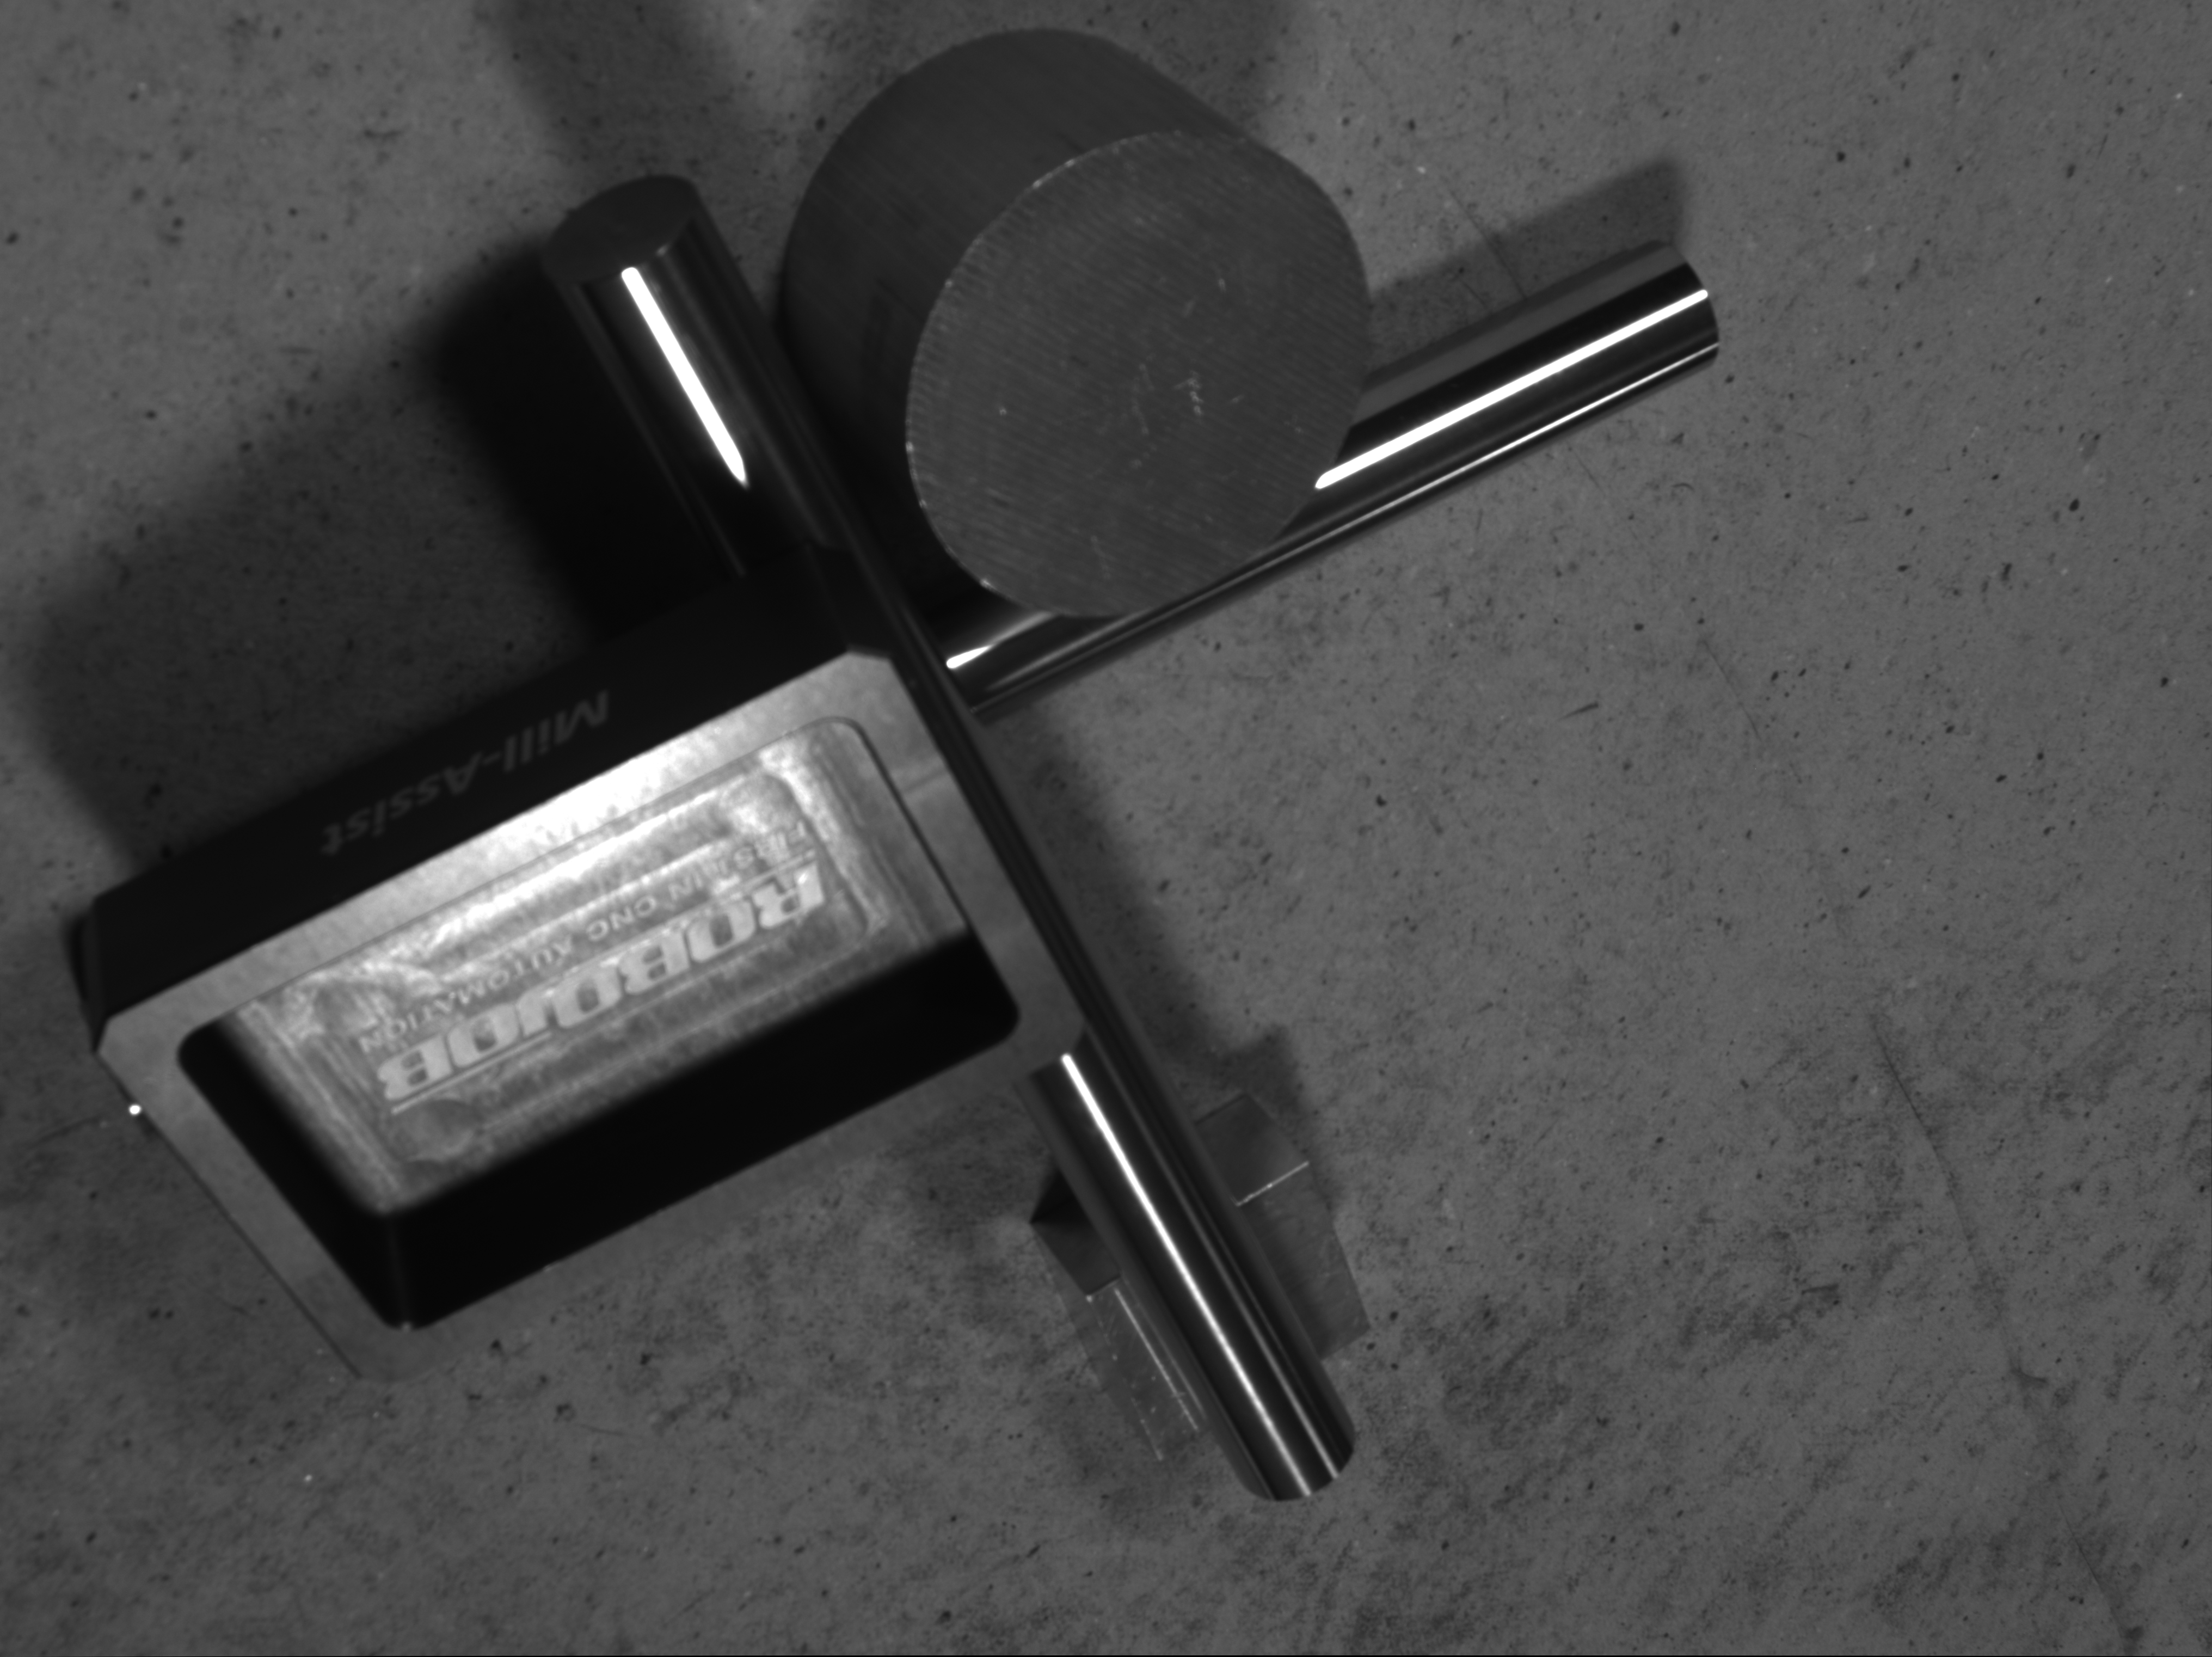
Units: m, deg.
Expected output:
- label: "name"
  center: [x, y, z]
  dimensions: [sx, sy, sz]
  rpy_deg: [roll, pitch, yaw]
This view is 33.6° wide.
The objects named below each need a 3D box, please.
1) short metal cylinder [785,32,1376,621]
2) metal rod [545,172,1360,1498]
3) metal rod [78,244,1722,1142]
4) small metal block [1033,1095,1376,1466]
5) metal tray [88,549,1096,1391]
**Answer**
- label: "short metal cylinder"
  center: [-0.004, -0.080, 0.582]
  dimensions: [0.080, 0.050, 0.080]
  rpy_deg: [-15, 125, -22]
- label: "metal rod"
  center: [-0.016, 0.017, 0.620]
  dimensions: [0.025, 0.025, 0.301]
  rpy_deg: [-34, 130, -8]
- label: "metal rod"
  center: [-0.028, -0.027, 0.618]
  dimensions: [0.300, 0.025, 0.025]
  rpy_deg: [-27, 128, -14]
- label: "small metal block"
  center: [0.020, 0.088, 0.717]
  dimensions: [0.050, 0.025, 0.050]
  rpy_deg: [-30, 129, -11]
- label: "metal tray"
  center: [-0.078, 0.024, 0.567]
  dimensions: [0.130, 0.030, 0.090]
  rpy_deg: [-27, 129, 1]
